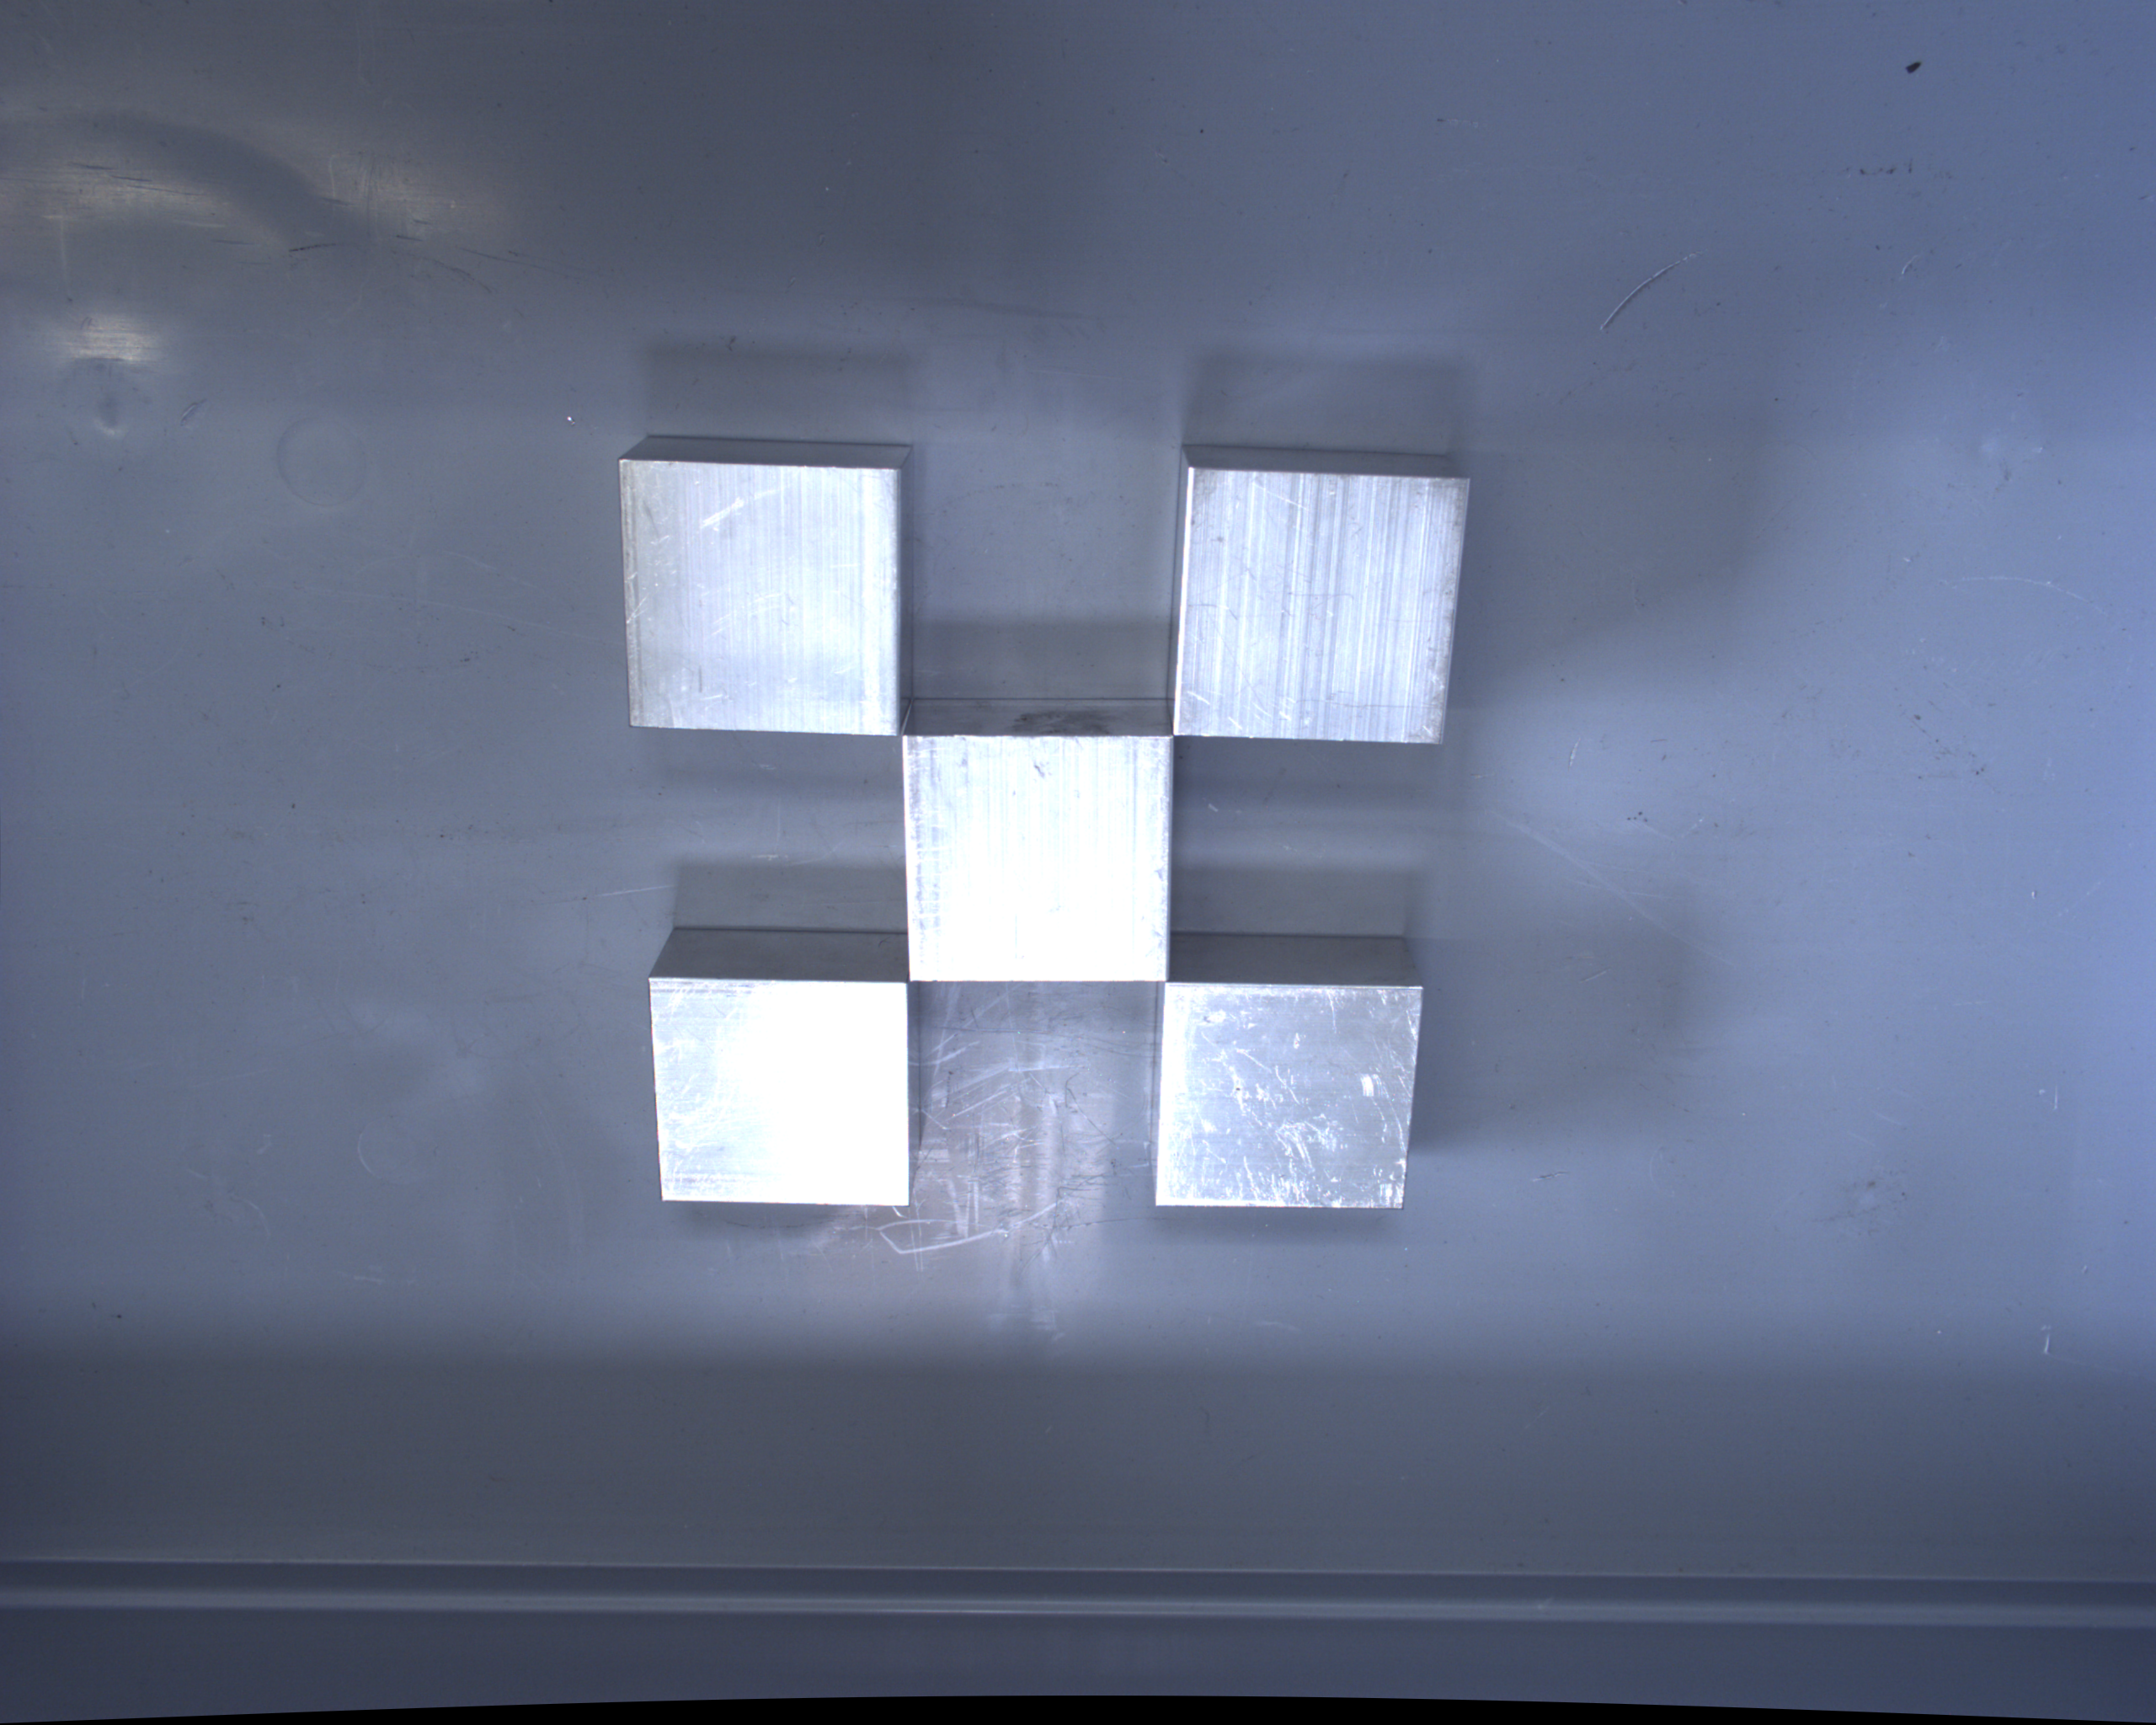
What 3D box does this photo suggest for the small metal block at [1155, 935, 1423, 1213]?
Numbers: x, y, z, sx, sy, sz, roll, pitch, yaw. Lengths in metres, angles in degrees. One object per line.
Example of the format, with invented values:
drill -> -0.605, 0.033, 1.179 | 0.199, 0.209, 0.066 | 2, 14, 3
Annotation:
small metal block -> 0.041, 0.043, 0.425 | 0.050, 0.025, 0.050 | 1, 110, -1

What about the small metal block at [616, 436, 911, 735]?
small metal block -> -0.057, -0.052, 0.389 | 0.050, 0.025, 0.050 | 1, 110, -1

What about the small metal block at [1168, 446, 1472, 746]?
small metal block -> 0.044, -0.050, 0.390 | 0.050, 0.025, 0.050 | 2, 110, -1

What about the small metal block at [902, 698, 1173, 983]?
small metal block -> -0.008, -0.005, 0.407 | 0.050, 0.025, 0.050 | 0, 110, -1

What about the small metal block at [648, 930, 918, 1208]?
small metal block -> -0.058, 0.042, 0.424 | 0.050, 0.025, 0.050 | 1, 110, -1
